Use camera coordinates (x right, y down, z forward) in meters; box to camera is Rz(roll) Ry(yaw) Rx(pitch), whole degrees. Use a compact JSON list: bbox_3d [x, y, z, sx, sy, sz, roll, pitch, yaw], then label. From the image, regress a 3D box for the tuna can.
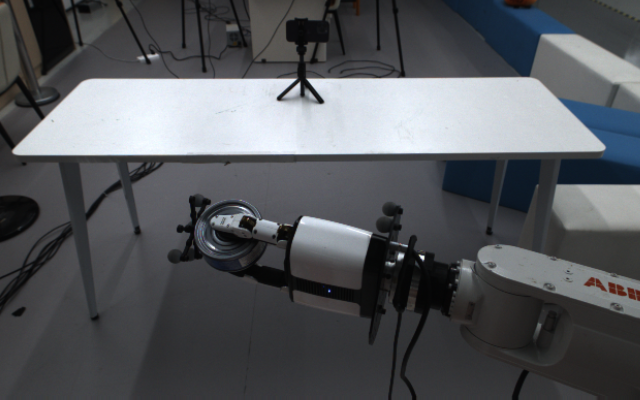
[{"bbox_3d":[-0.105,0.041,0.590,0.085,0.034,0.085,-2,57,3],"label":"tuna can"}]
